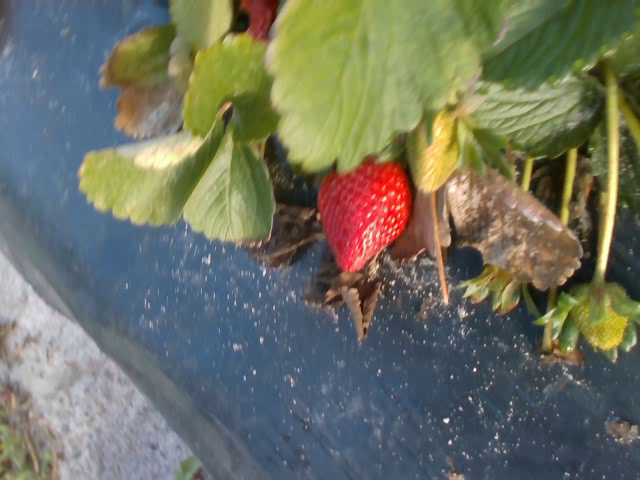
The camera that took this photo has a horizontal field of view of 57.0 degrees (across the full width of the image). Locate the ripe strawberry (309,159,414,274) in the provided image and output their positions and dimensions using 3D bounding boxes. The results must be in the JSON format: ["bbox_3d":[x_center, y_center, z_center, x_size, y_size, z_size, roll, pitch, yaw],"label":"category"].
[{"bbox_3d":[0.009,-0.005,0.148,0.031,0.030,0.025,2,-15,29],"label":"ripe strawberry"}]
